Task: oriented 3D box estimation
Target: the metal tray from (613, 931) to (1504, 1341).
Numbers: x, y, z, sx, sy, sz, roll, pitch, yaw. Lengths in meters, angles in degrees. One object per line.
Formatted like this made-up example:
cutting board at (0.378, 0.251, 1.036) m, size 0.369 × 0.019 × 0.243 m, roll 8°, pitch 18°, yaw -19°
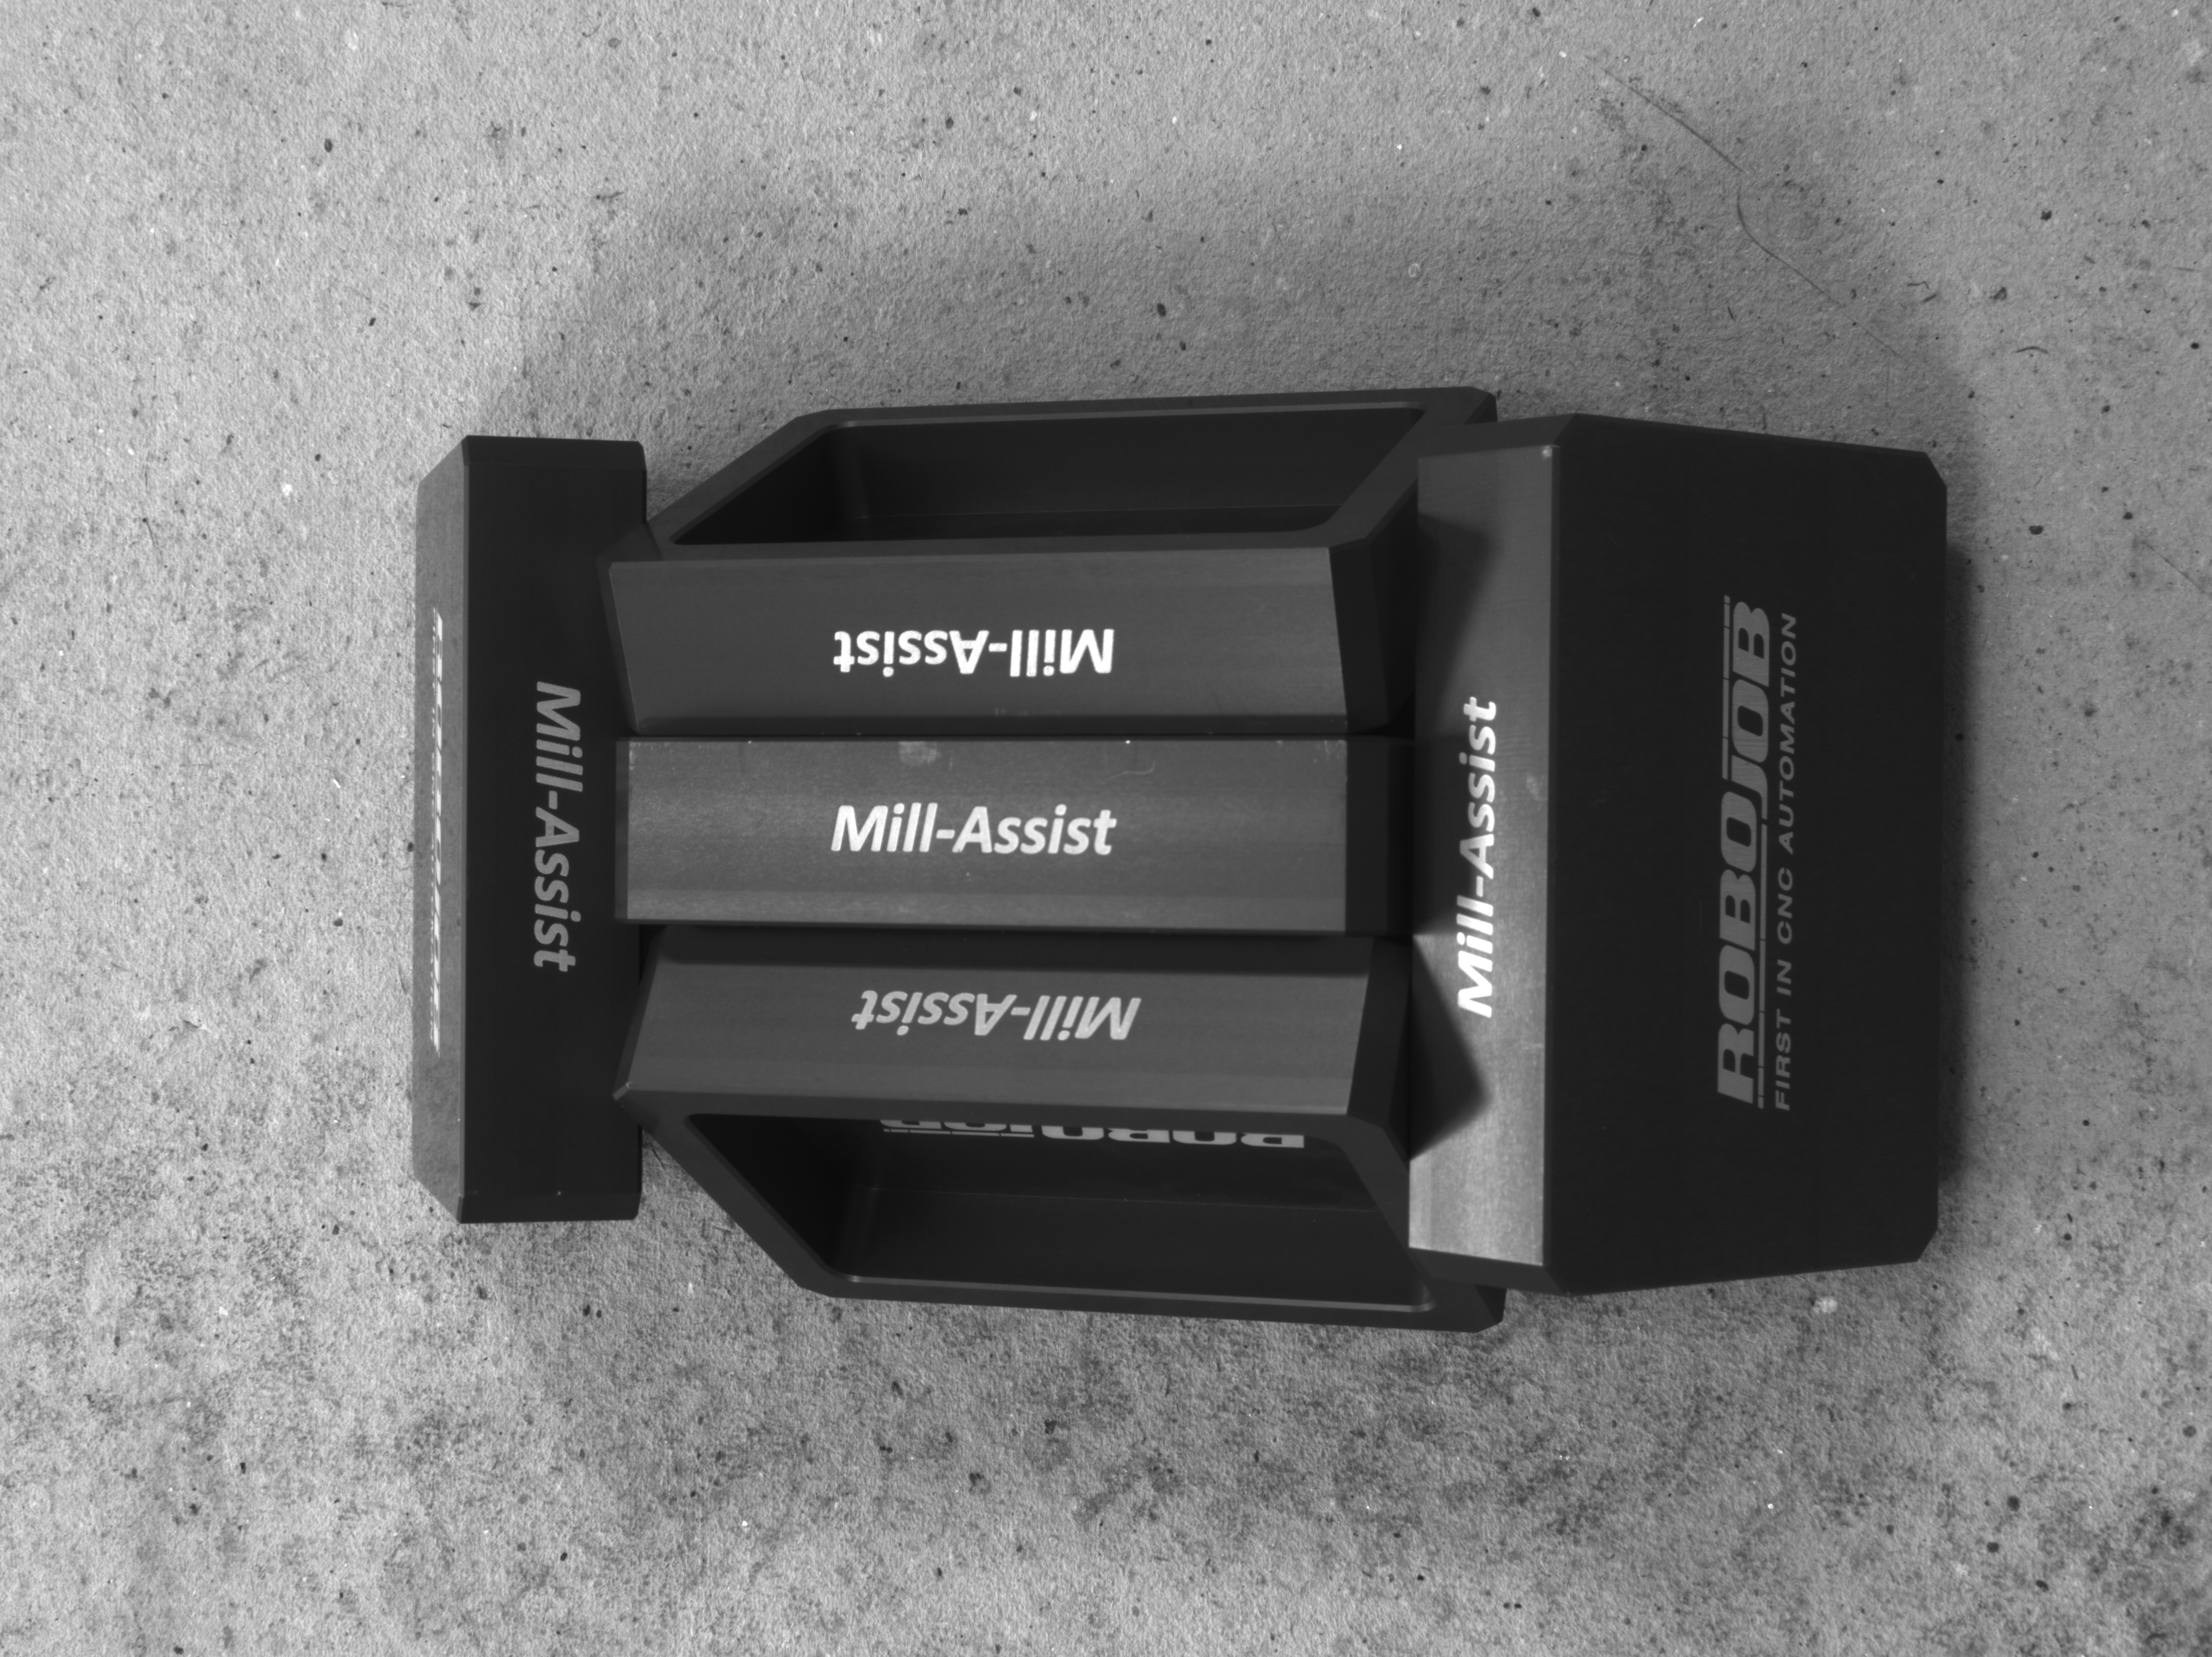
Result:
metal tray at (-0.004, 0.051, 0.613) m, size 0.130 × 0.090 × 0.030 m, roll 1°, pitch 61°, yaw 20°

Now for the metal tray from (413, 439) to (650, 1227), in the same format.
metal tray at (-0.103, 0.001, 0.650) m, size 0.030 × 0.090 × 0.130 m, roll 0°, pitch 90°, yaw -16°

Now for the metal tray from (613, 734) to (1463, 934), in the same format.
metal tray at (-0.005, 0.001, 0.614) m, size 0.130 × 0.090 × 0.030 m, roll 0°, pitch 90°, yaw 20°

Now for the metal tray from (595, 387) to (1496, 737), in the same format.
metal tray at (-0.007, -0.045, 0.612) m, size 0.130 × 0.090 × 0.030 m, roll 0°, pitch 112°, yaw 20°

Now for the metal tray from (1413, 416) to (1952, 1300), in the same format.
metal tray at (0.091, 0.005, 0.578) m, size 0.030 × 0.090 × 0.130 m, roll 1°, pitch 90°, yaw 52°
